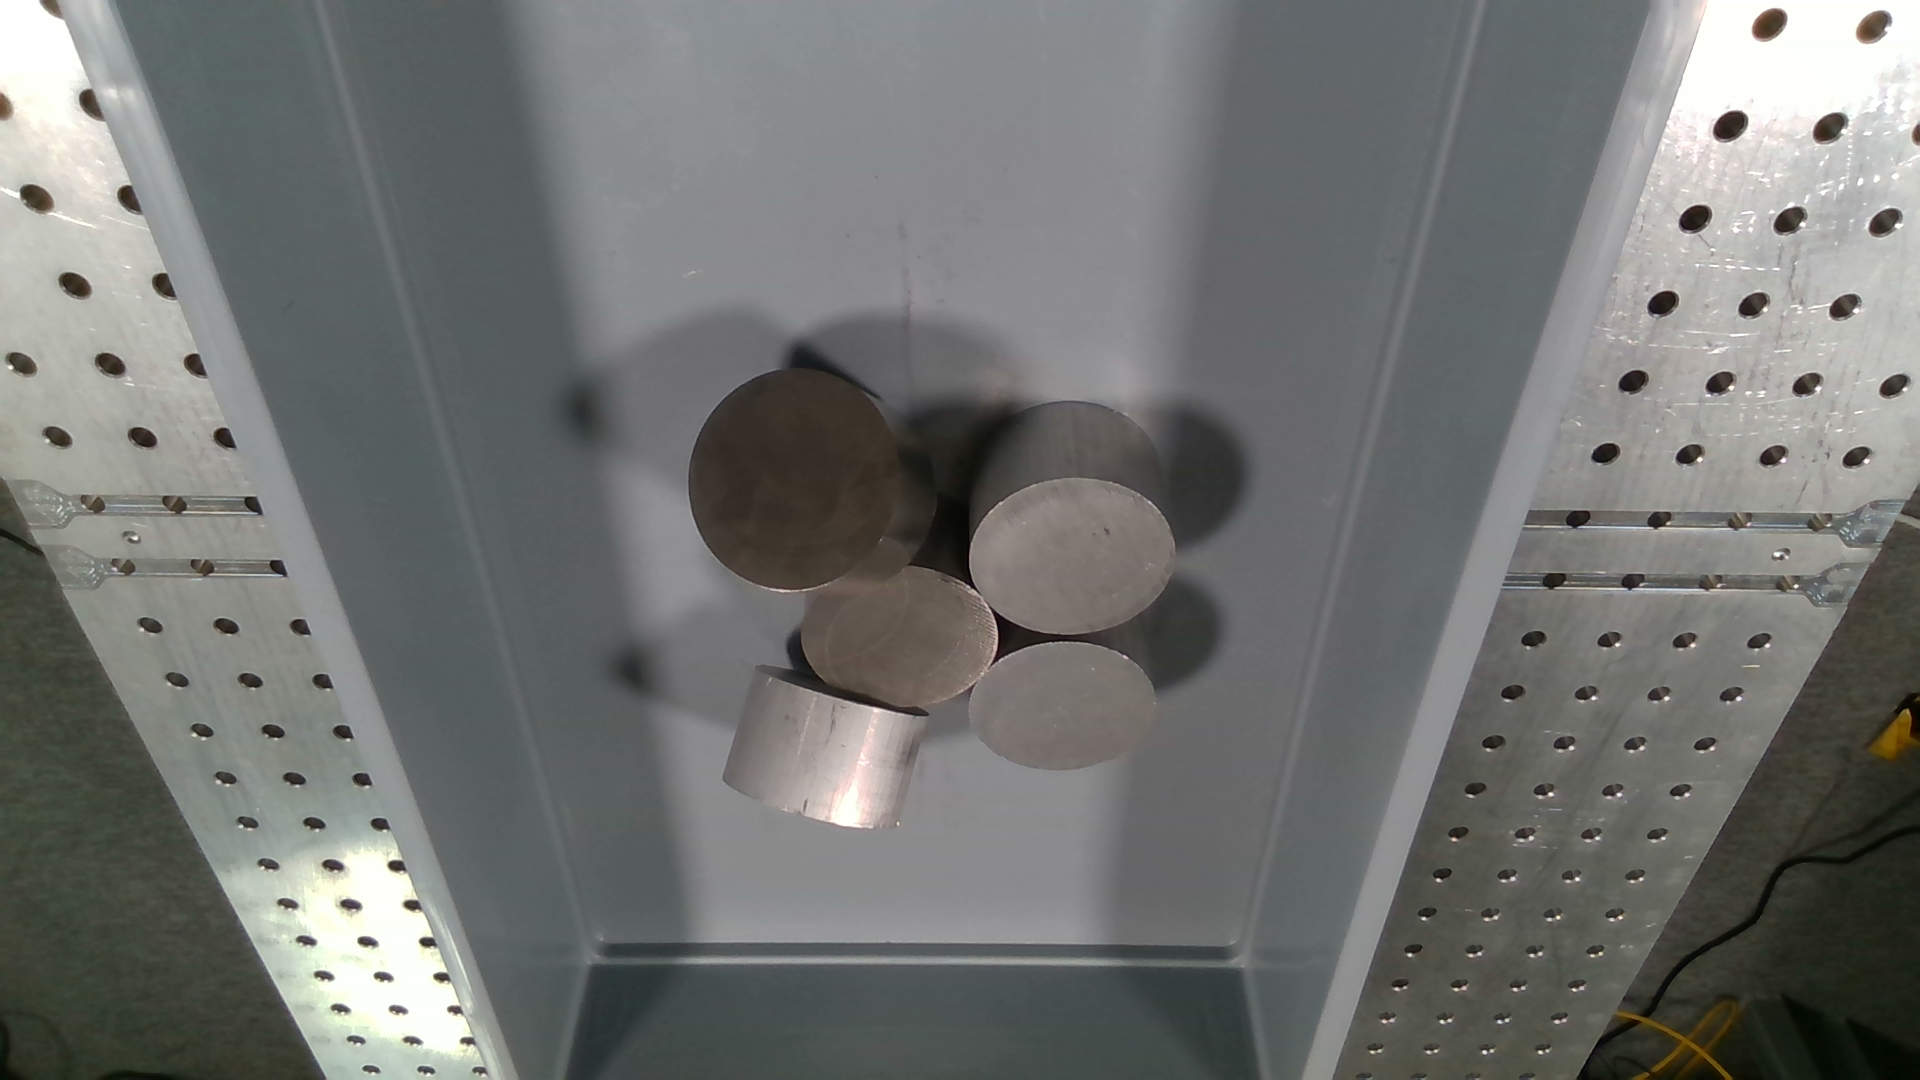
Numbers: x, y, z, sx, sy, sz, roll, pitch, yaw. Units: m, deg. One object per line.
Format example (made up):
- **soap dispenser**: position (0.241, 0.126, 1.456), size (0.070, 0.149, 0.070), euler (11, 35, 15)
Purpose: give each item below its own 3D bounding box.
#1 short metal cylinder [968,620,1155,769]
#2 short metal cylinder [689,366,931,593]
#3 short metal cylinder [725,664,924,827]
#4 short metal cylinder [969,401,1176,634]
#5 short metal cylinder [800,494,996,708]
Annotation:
- **short metal cylinder**: position (0.043, 0.056, 0.608), size (0.080, 0.050, 0.080), euler (0, 130, 0)
- **short metal cylinder**: position (-0.054, -0.021, 0.517), size (0.080, 0.080, 0.050), euler (-15, 173, 13)
- **short metal cylinder**: position (-0.060, 0.090, 0.609), size (0.080, 0.080, 0.050), euler (16, 89, -13)
- **short metal cylinder**: position (0.043, -0.008, 0.553), size (0.080, 0.050, 0.080), euler (0, 130, 0)
- **short metal cylinder**: position (-0.025, 0.025, 0.580), size (0.080, 0.050, 0.080), euler (0, 130, 0)
